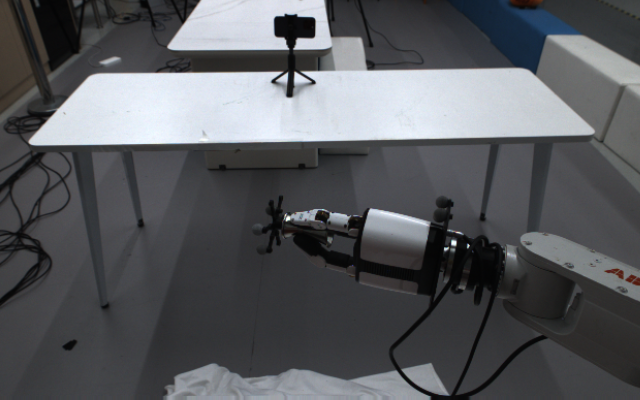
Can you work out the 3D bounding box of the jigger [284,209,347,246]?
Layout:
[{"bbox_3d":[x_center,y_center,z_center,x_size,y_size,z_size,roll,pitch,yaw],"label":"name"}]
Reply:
[{"bbox_3d":[-0.010,0.036,0.690,0.071,0.043,0.043,8,35,14],"label":"jigger"}]
